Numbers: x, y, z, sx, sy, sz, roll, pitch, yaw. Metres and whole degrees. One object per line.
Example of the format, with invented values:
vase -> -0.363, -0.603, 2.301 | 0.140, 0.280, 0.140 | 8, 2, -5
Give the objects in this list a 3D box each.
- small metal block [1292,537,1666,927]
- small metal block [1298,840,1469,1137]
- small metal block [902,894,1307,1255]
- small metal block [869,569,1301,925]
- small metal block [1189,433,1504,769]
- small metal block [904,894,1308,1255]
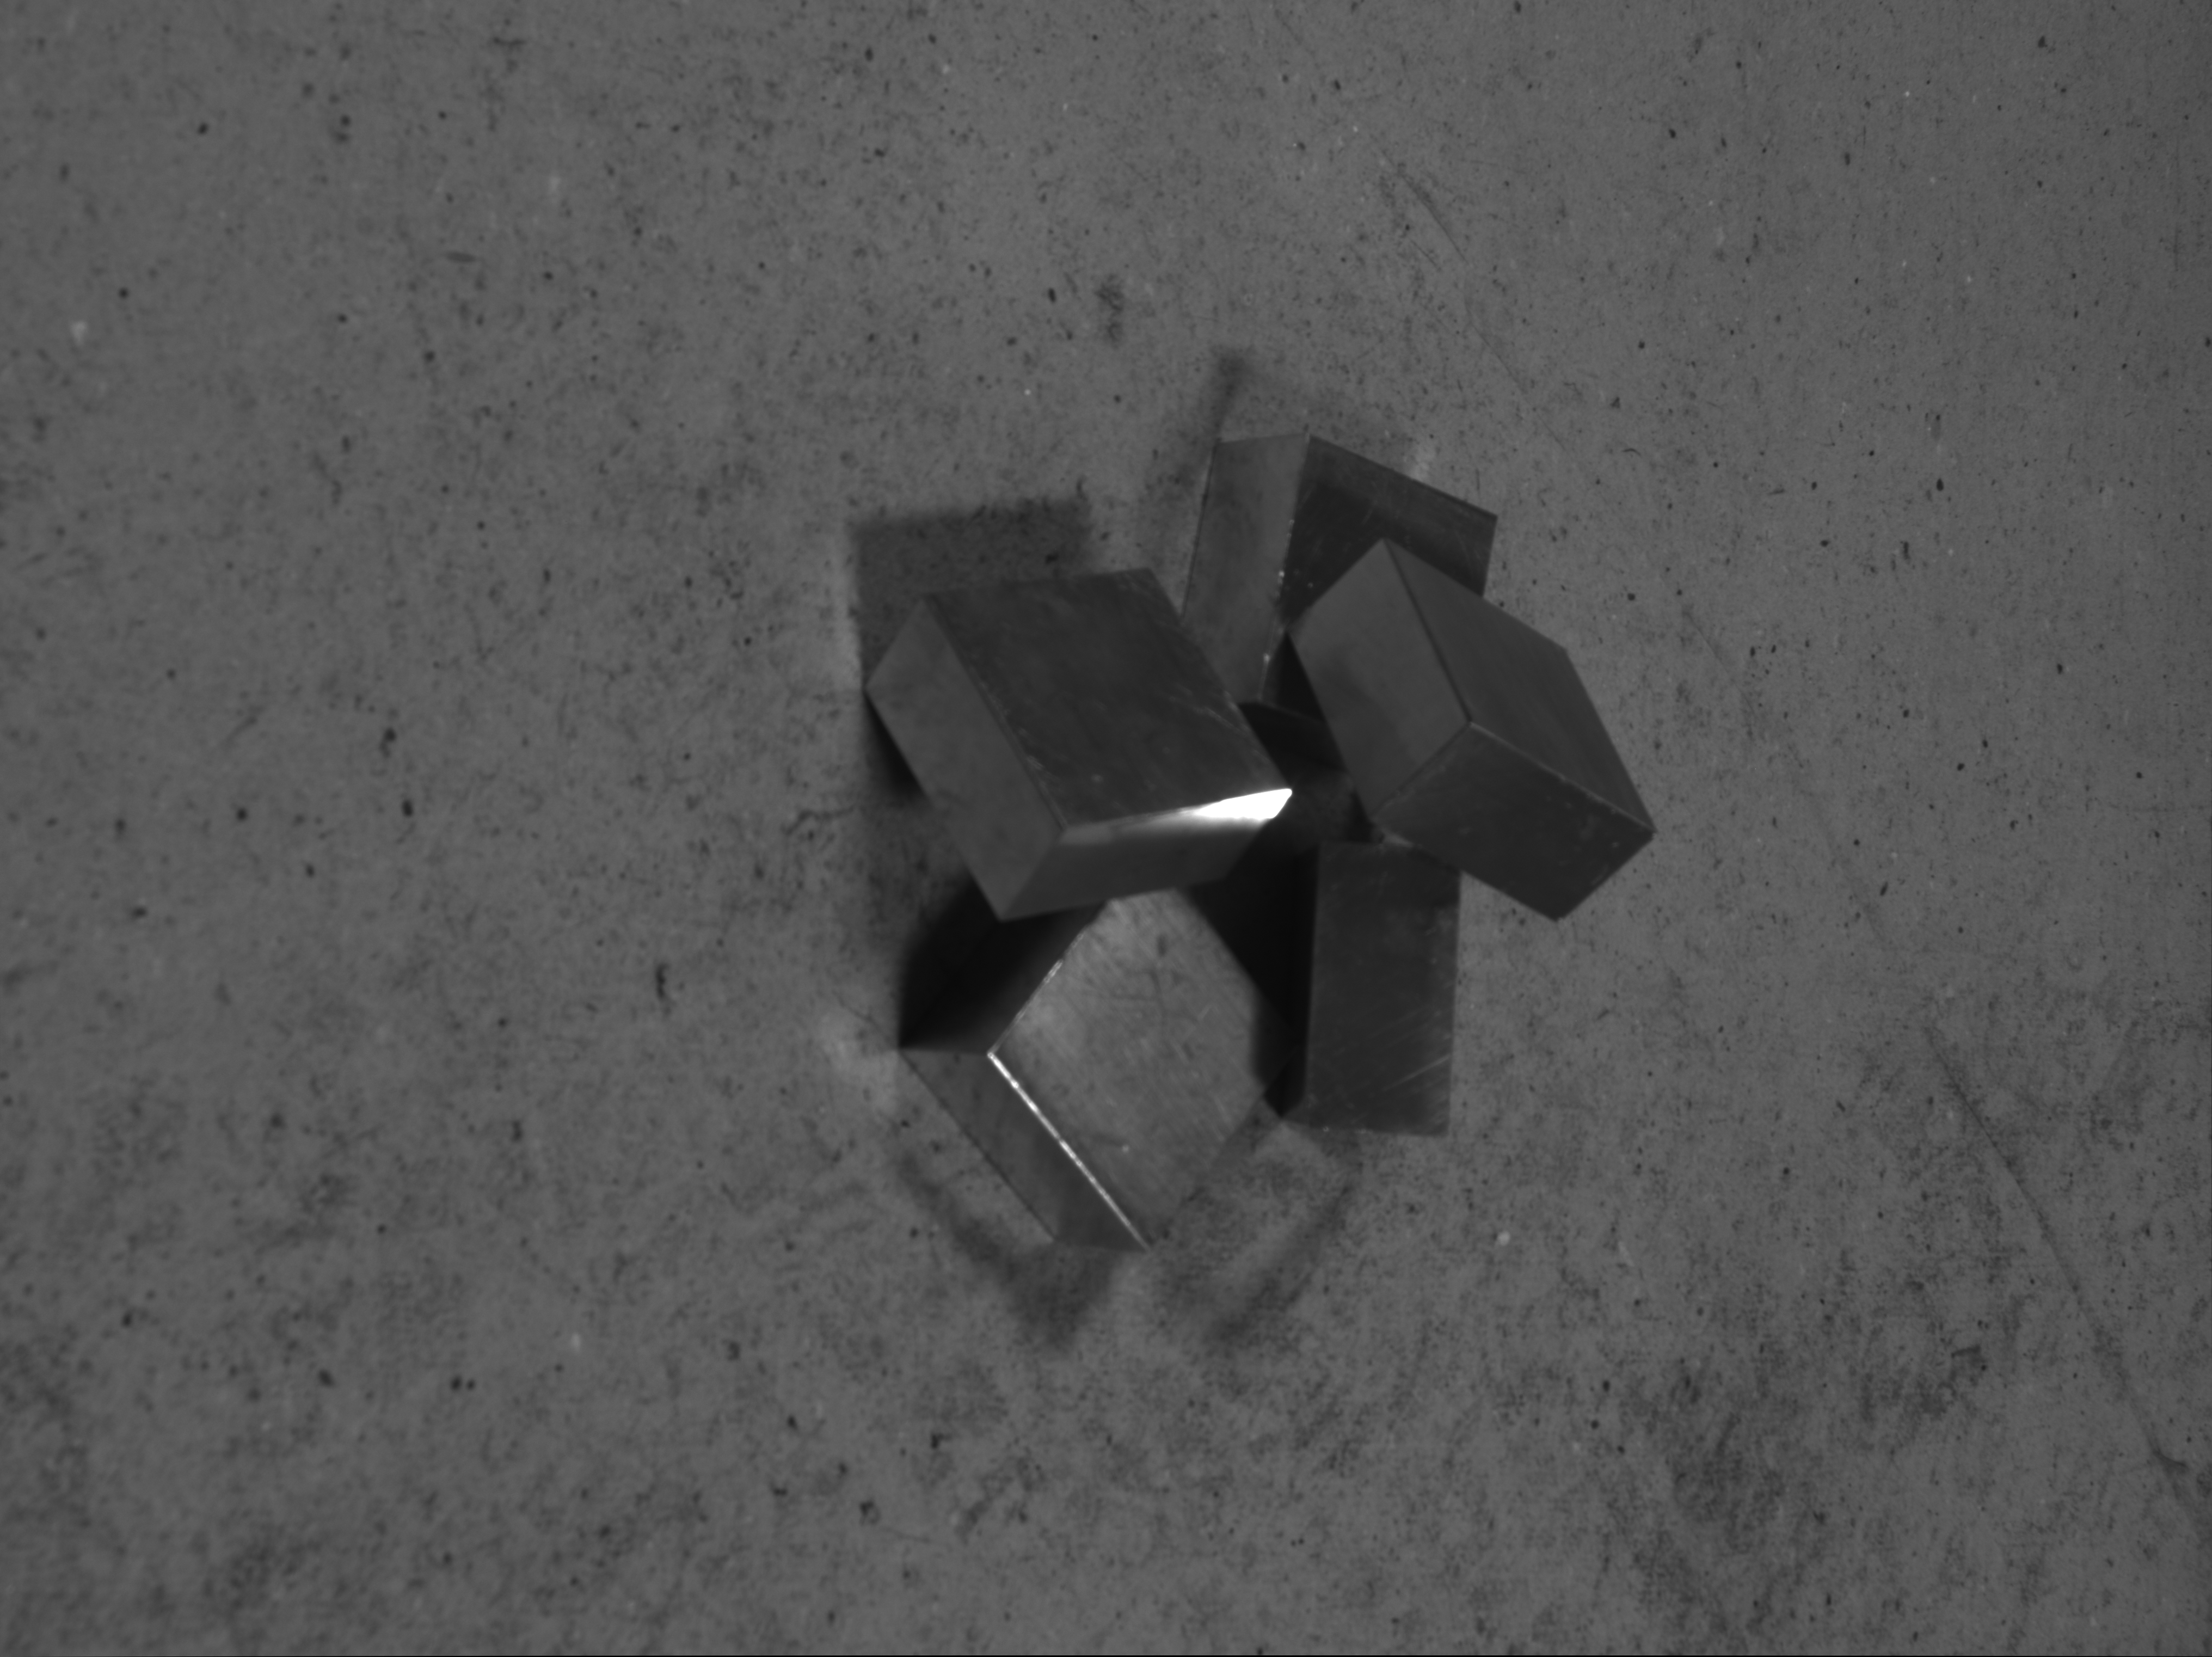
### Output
small metal block -> 0.065, -0.017, 0.642 | 0.050, 0.025, 0.050 | 27, 30, -37
small metal block -> 0.049, 0.029, 0.659 | 0.025, 0.050, 0.050 | 3, 86, -1
small metal block -> 0.000, 0.038, 0.638 | 0.050, 0.025, 0.050 | 53, 59, -26
small metal block -> -0.004, -0.015, 0.618 | 0.050, 0.025, 0.050 | -10, 59, -40
small metal block -> 0.043, -0.040, 0.674 | 0.050, 0.025, 0.050 | 18, 79, -38
small metal block -> 0.001, 0.038, 0.638 | 0.050, 0.025, 0.050 | -52, 120, -27
